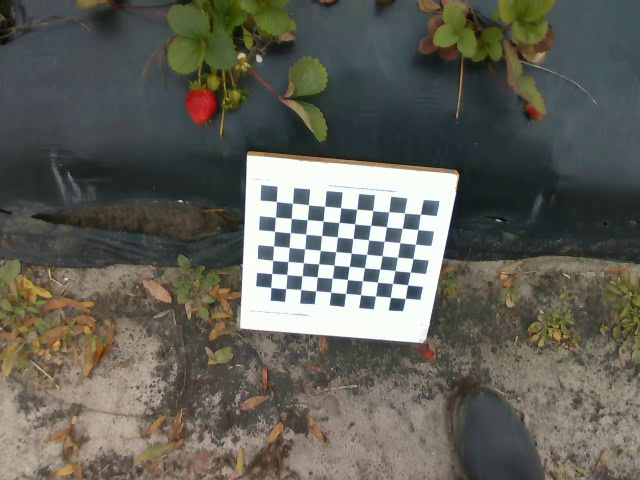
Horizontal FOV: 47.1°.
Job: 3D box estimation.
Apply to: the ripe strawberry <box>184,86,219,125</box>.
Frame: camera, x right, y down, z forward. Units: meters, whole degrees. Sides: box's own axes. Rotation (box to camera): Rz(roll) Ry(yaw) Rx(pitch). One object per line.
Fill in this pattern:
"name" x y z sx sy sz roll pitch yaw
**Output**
"ripe strawberry" -0.049 -0.053 0.293 0.018 0.017 0.014 7 -19 -9
